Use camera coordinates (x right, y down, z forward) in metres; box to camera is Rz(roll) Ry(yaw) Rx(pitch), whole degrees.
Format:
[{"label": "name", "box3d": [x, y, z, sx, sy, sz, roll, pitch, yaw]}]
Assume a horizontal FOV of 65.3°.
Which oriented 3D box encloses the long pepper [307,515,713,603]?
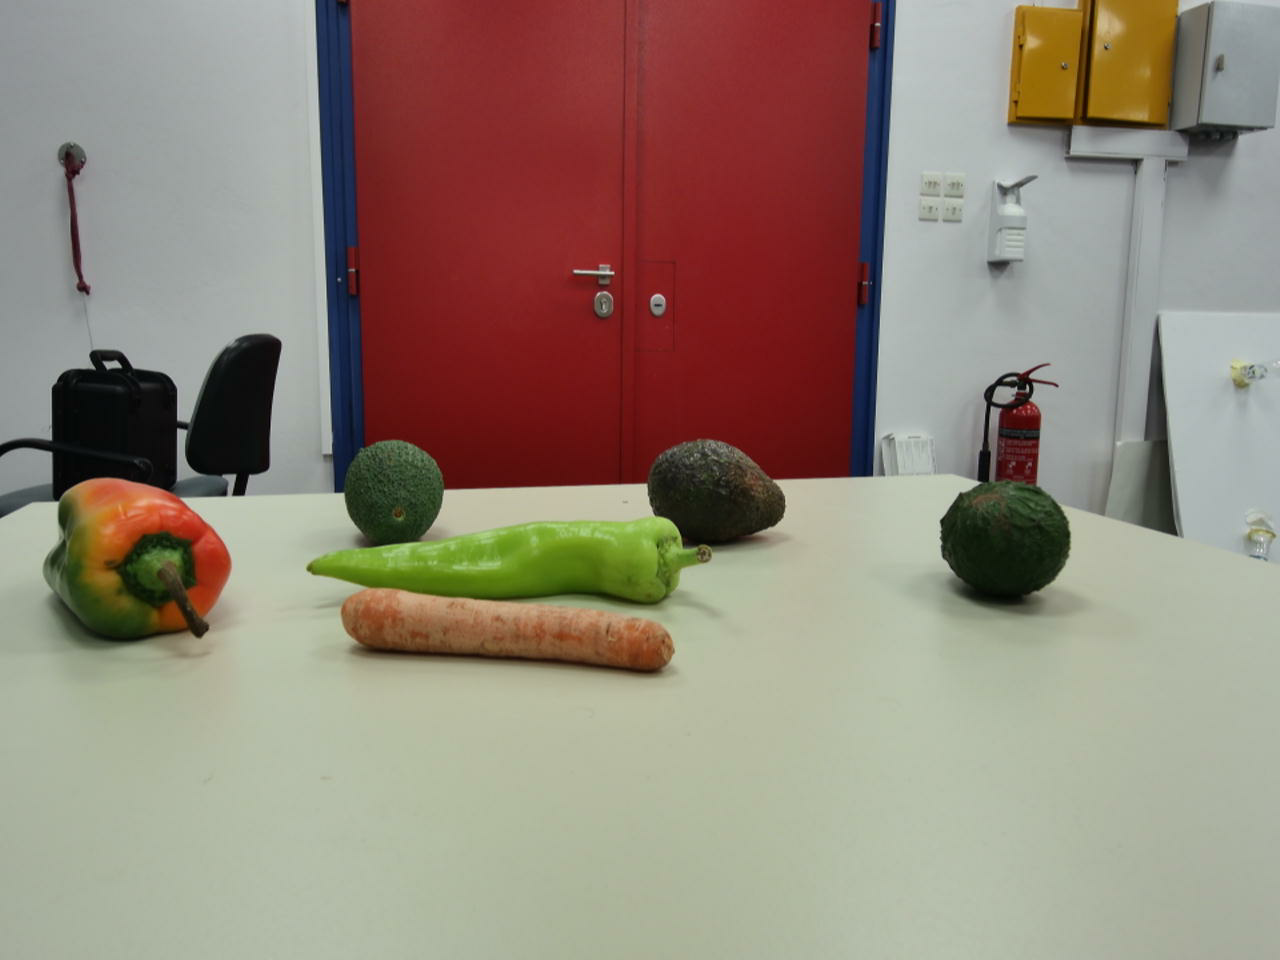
[{"label": "long pepper", "box3d": [-0.063, 0.042, 0.529, 0.205, 0.045, 0.065, 0, 7, 3]}]
